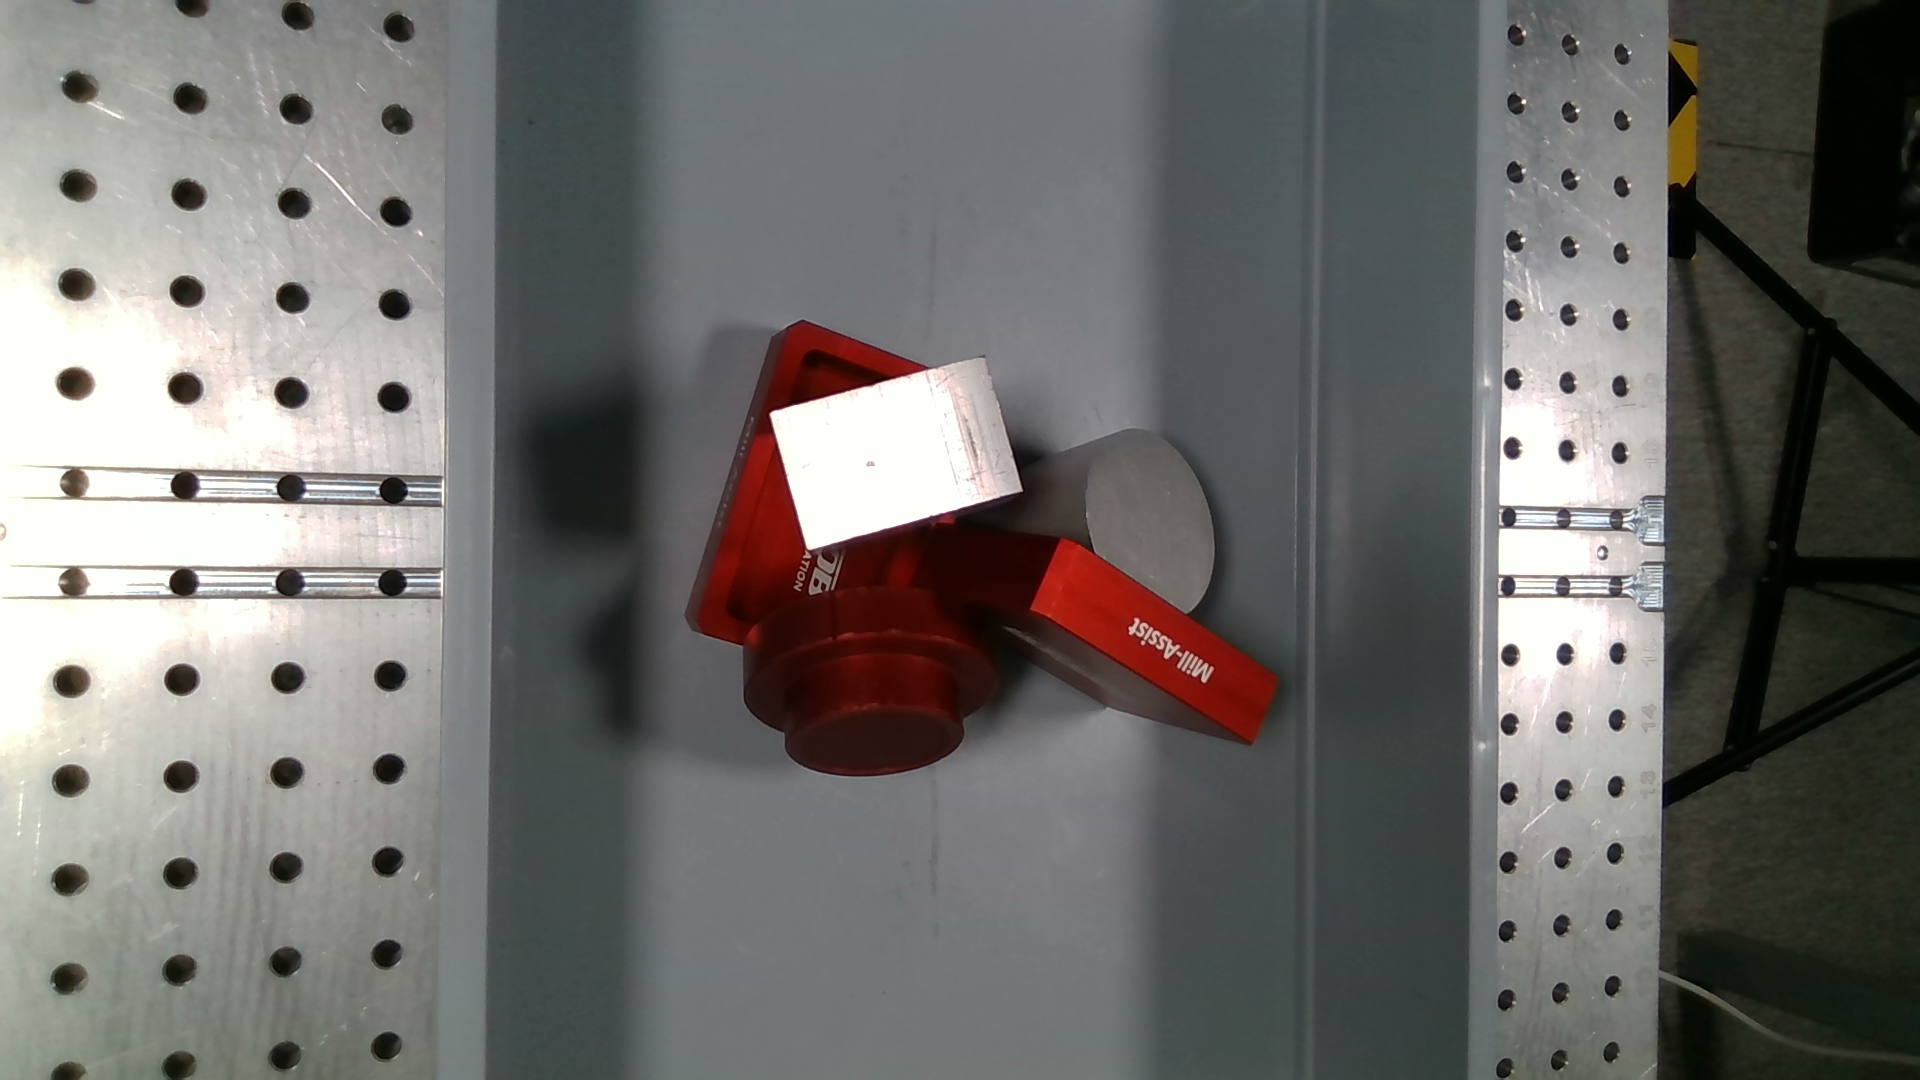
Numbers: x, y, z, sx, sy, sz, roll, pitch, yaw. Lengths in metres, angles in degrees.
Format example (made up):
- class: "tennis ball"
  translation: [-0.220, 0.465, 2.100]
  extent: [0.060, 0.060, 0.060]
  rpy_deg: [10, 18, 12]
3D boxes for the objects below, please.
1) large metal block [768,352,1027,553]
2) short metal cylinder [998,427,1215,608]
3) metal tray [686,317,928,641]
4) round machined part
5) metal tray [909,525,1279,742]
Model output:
- class: "large metal block"
  translation: [-0.024, -0.030, 0.522]
  extent: [0.080, 0.080, 0.050]
  rpy_deg: [-16, 89, -4]
- class: "short metal cylinder"
  translation: [0.062, -0.002, 0.579]
  extent: [0.080, 0.050, 0.080]
  rpy_deg: [14, 70, -40]
- class: "metal tray"
  translation: [-0.049, -0.014, 0.563]
  extent: [0.090, 0.030, 0.130]
  rpy_deg: [18, 84, -19]
- class: "round machined part"
  translation: [-0.034, 0.059, 0.530]
  extent: [0.098, 0.098, 0.042]
  rpy_deg: [6, 58, -20]
- class: "metal tray"
  translation: [0.054, 0.038, 0.554]
  extent: [0.130, 0.090, 0.030]
  rpy_deg: [32, 76, -33]
